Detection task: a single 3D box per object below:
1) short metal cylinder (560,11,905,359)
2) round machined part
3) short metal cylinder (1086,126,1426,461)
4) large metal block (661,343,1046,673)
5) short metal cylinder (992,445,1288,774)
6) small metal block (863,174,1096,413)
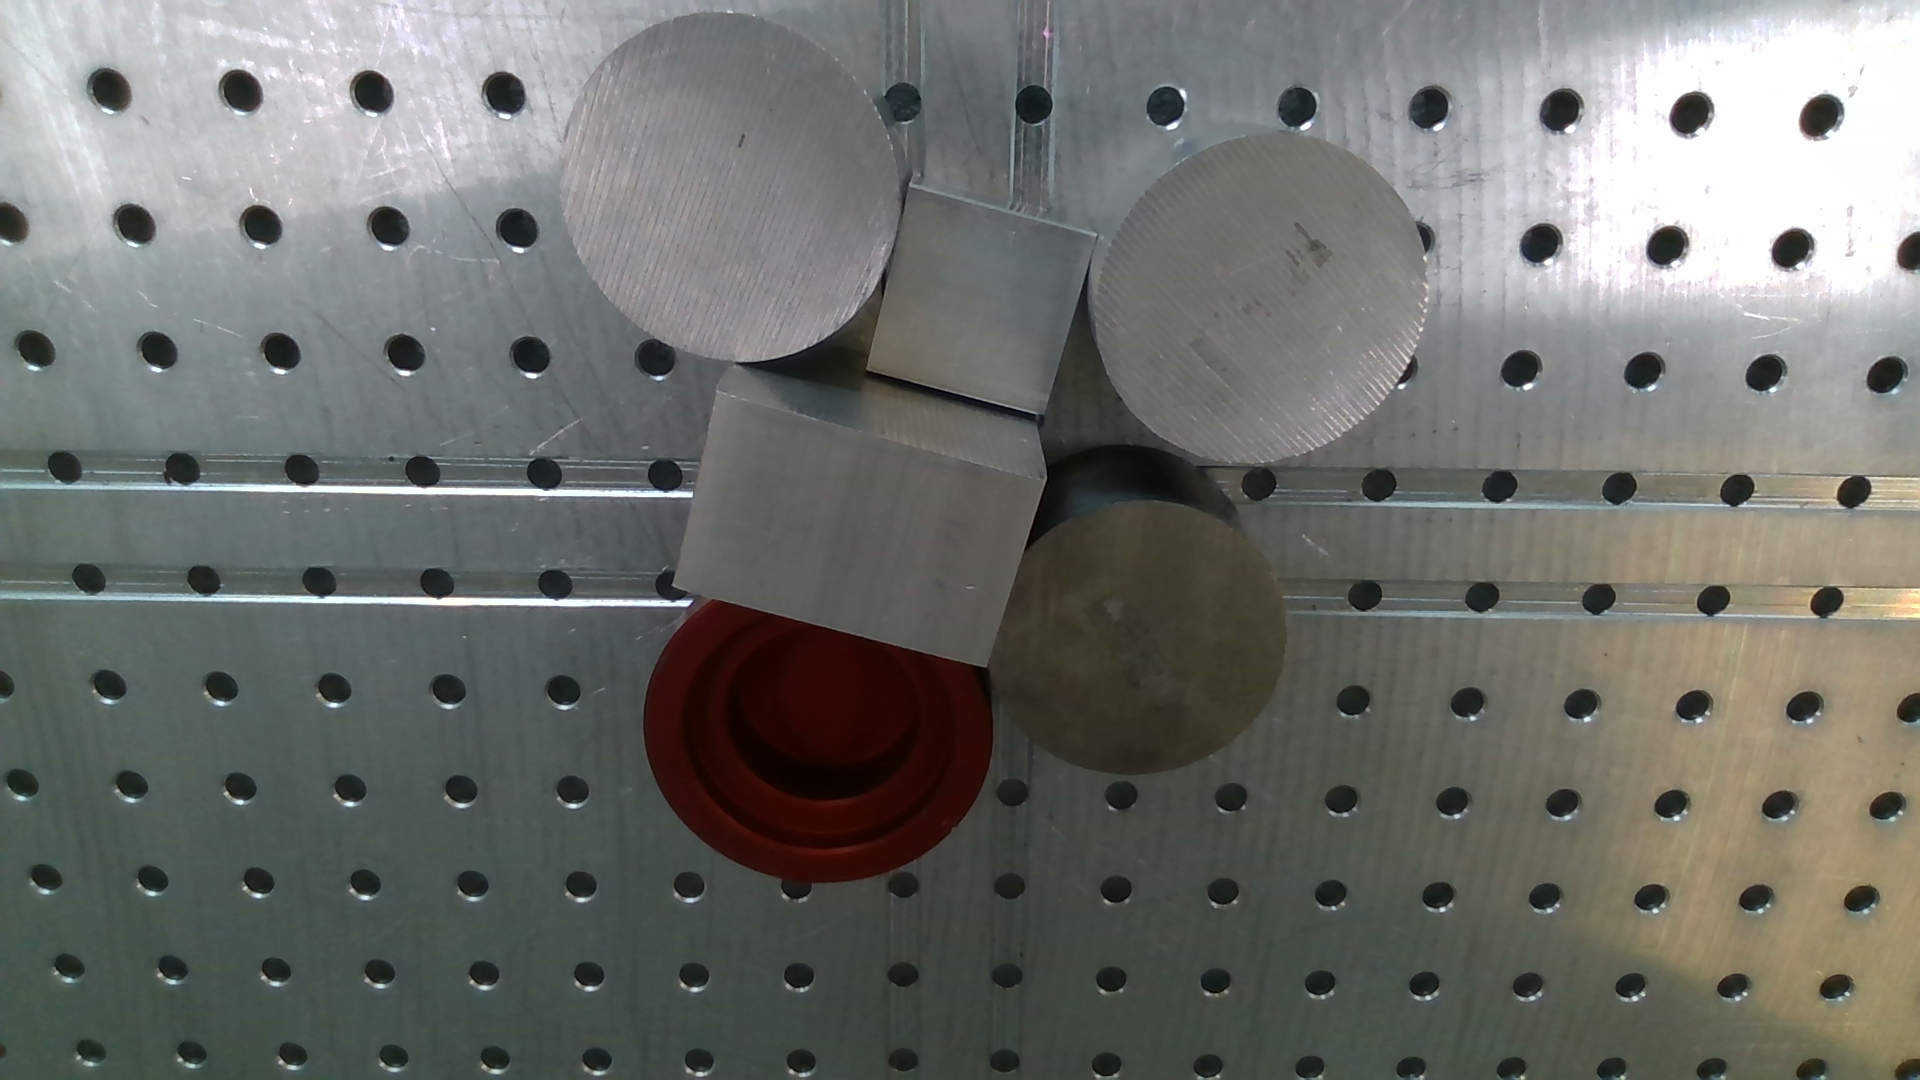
[{"bbox_3d":[-0.054,-0.091,0.349,0.080,0.050,0.080,0,110,0],"label":"short metal cylinder"},{"bbox_3d":[-0.040,0.047,0.404,0.098,0.042,0.098,0,110,0],"label":"round machined part"},{"bbox_3d":[0.073,-0.066,0.358,0.080,0.050,0.080,0,110,0],"label":"short metal cylinder"},{"bbox_3d":[-0.025,-0.014,0.358,0.080,0.080,0.050,15,109,-5],"label":"large metal block"},{"bbox_3d":[0.047,0.018,0.389,0.080,0.050,0.080,0,110,0],"label":"short metal cylinder"},{"bbox_3d":[0.005,-0.067,0.371,0.050,0.025,0.050,14,110,-5],"label":"small metal block"}]
